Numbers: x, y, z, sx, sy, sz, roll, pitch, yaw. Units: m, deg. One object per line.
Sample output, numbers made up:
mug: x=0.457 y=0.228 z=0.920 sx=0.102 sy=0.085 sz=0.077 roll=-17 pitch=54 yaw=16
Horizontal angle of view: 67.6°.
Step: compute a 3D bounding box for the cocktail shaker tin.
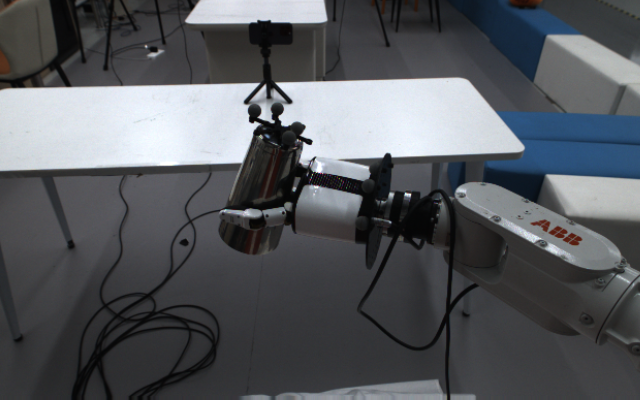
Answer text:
cocktail shaker tin: x=-0.079 y=-0.016 z=0.674 sx=0.093 sy=0.170 sz=0.093 roll=15 pitch=31 yaw=-9
